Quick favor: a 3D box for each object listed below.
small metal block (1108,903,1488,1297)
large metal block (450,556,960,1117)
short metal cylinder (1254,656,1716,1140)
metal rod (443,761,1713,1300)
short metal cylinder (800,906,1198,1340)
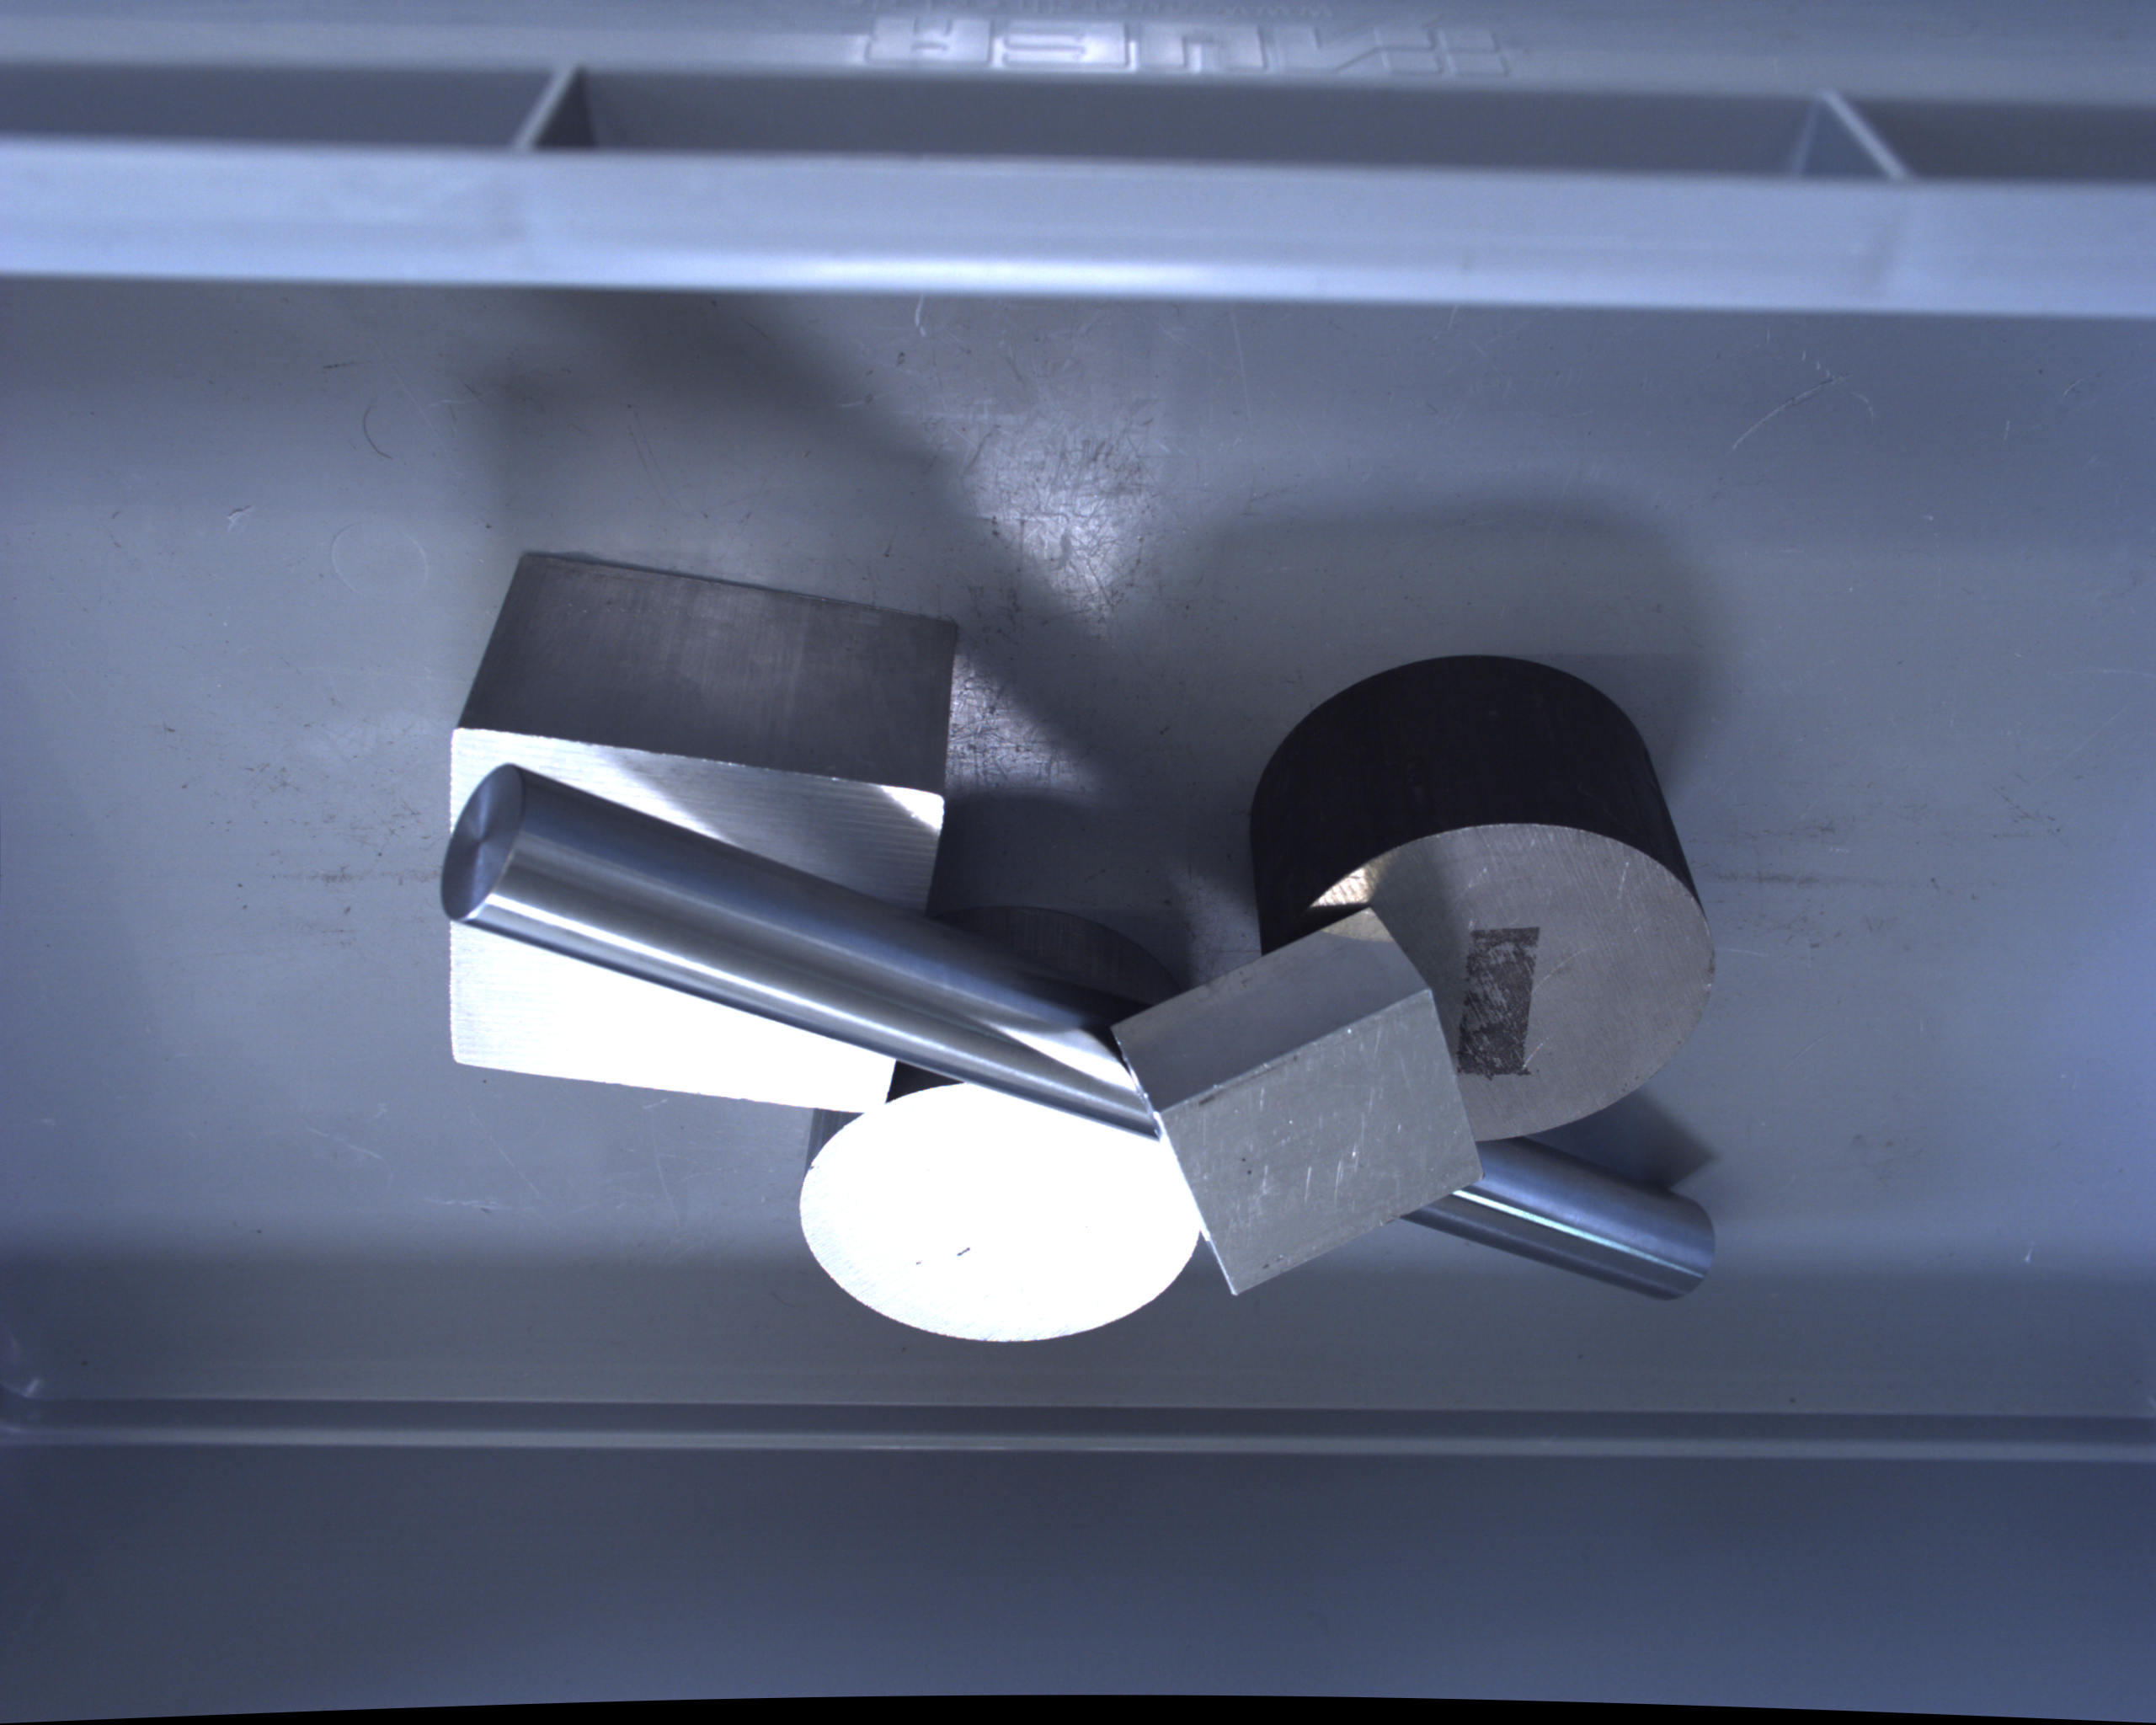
[{"bbox_3d":[0.039,0.042,0.368,0.050,0.025,0.050,-25,128,-3],"label":"small metal block"},{"bbox_3d":[-0.069,-0.003,0.385,0.081,0.050,0.079,8,130,-7],"label":"large metal block"},{"bbox_3d":[0.075,0.008,0.398,0.081,0.050,0.079,0,130,0],"label":"short metal cylinder"},{"bbox_3d":[0.025,0.043,0.398,0.302,0.025,0.025,22,128,-36],"label":"metal rod"},{"bbox_3d":[-0.015,0.055,0.437,0.081,0.050,0.079,0,130,0],"label":"short metal cylinder"}]
